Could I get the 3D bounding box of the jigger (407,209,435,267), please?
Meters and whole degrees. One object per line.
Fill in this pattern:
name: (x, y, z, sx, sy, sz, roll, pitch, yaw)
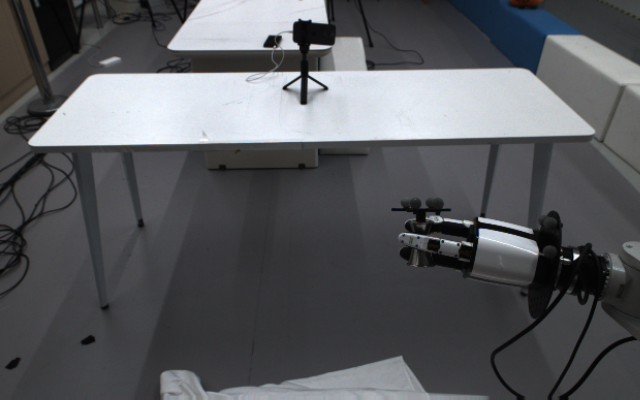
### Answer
jigger: (0.155, 0.064, 0.746, 0.043, 0.071, 0.043, -1, 2, 0)
